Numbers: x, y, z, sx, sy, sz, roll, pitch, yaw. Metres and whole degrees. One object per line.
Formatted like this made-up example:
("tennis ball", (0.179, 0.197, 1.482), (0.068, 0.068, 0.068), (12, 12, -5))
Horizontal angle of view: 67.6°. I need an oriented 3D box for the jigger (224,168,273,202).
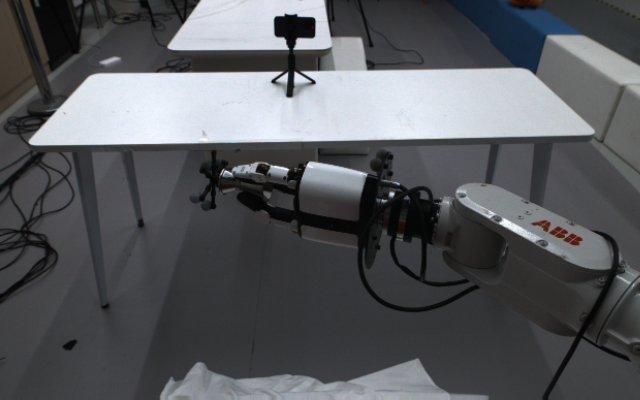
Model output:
("jigger", (-0.100, -0.027, 0.695), (0.071, 0.043, 0.043), (7, 35, 12))
